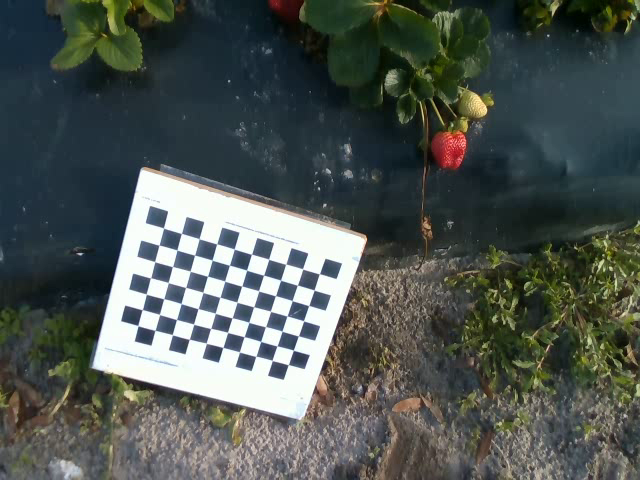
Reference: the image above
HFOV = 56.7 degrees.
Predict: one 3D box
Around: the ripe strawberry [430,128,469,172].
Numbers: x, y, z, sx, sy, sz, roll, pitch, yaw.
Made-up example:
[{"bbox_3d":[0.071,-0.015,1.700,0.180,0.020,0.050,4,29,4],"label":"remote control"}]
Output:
[{"bbox_3d":[0.167,-0.112,0.740,0.047,0.050,0.035,-3,10,-2],"label":"ripe strawberry"}]
